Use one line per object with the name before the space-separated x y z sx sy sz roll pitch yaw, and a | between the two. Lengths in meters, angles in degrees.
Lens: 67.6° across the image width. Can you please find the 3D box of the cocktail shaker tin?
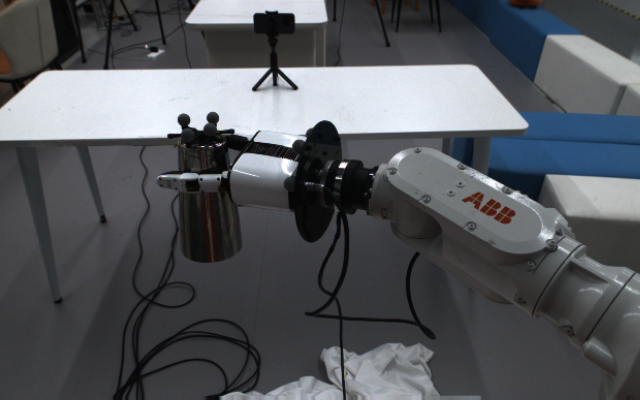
cocktail shaker tin | -0.160 -0.008 0.698 0.093 0.170 0.093 1 27 -1
